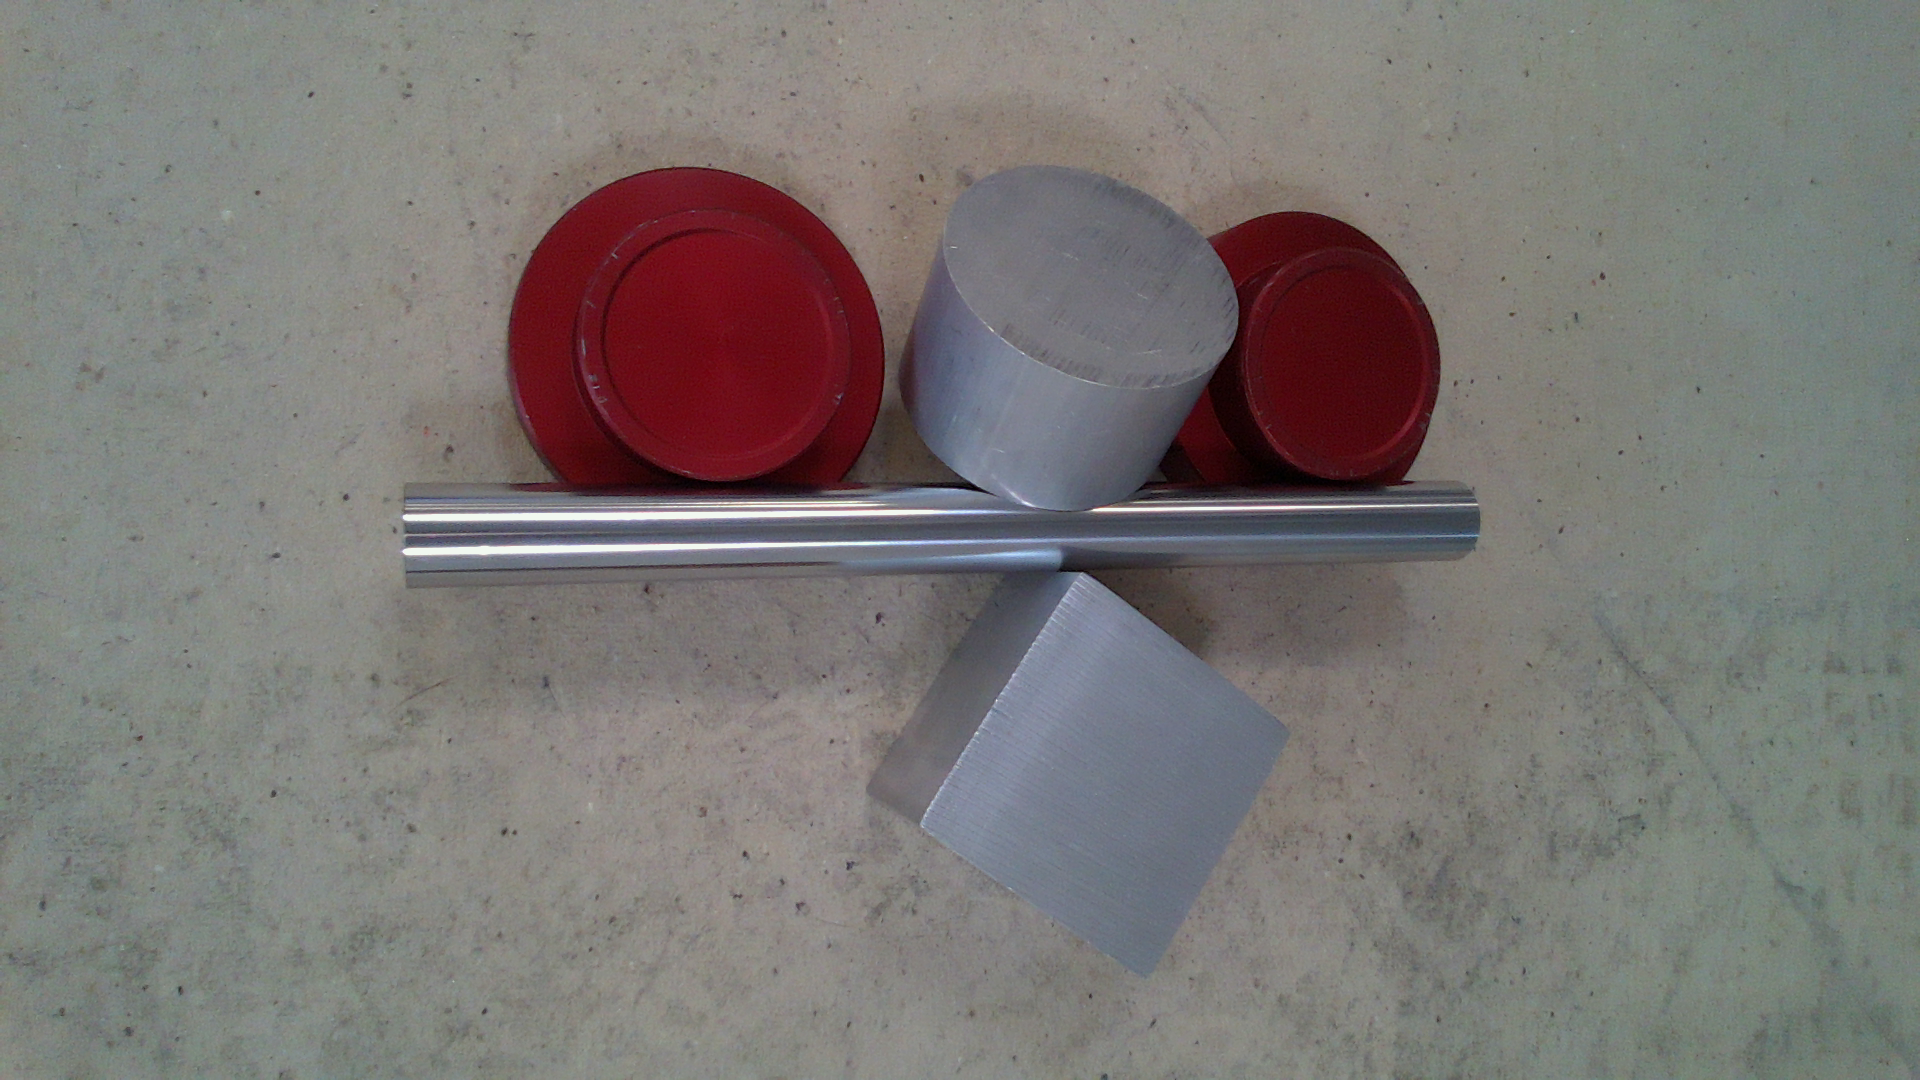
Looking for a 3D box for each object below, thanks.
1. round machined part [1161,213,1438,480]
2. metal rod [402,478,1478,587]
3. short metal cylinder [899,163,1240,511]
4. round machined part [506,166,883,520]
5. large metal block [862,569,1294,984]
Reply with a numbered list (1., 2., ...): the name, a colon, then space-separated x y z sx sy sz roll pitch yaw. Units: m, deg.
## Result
1. round machined part: 0.106 -0.052 0.423 0.098 0.042 0.098 0 90 -20
2. metal rod: 0.011 -0.004 0.375 0.301 0.025 0.025 -1 90 -20
3. short metal cylinder: 0.028 -0.055 0.371 0.080 0.050 0.080 10 52 -12
4. round machined part: -0.067 -0.049 0.359 0.098 0.042 0.098 0 90 -20
5. large metal block: 0.033 0.064 0.390 0.080 0.050 0.080 37 78 -16
